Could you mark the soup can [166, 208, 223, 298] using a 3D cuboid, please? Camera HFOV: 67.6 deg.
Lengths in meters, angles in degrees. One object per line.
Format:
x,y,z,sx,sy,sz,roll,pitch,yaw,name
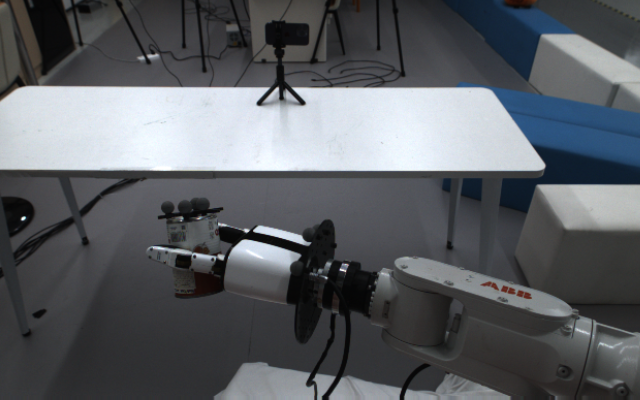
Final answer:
-0.163,0.074,0.643,0.067,0.101,0.067,-7,3,0,soup can
